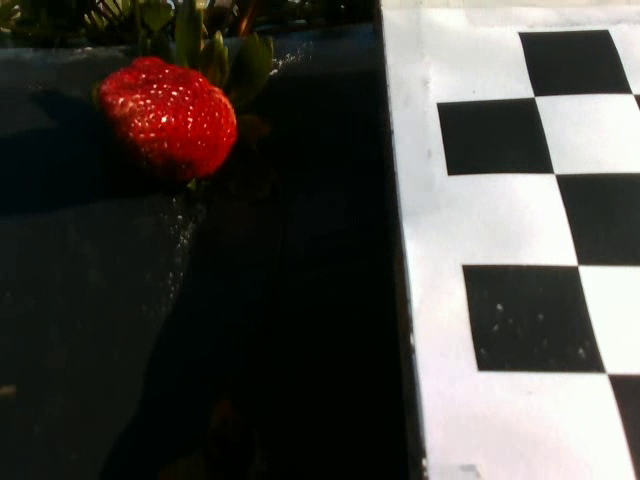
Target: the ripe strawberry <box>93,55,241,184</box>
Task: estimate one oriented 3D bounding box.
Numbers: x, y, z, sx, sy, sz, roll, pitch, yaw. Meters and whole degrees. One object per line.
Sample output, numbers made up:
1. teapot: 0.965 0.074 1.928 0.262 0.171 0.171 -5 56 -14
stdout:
1. ripe strawberry: -0.016 -0.013 0.059 0.016 0.015 0.022 6 8 5
